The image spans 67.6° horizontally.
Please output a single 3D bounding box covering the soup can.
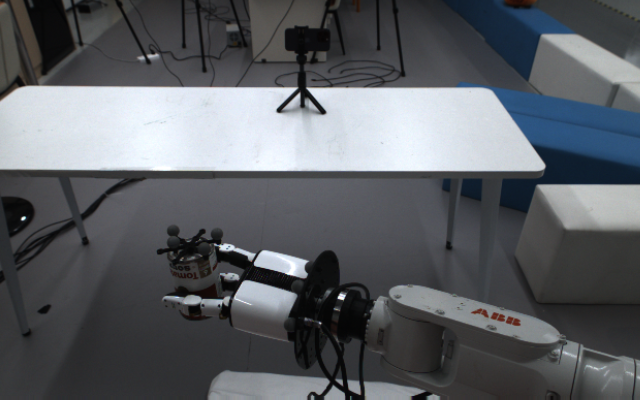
[{"bbox_3d":[-0.177,0.115,0.702,0.067,0.101,0.067,-4,26,2],"label":"soup can"}]
